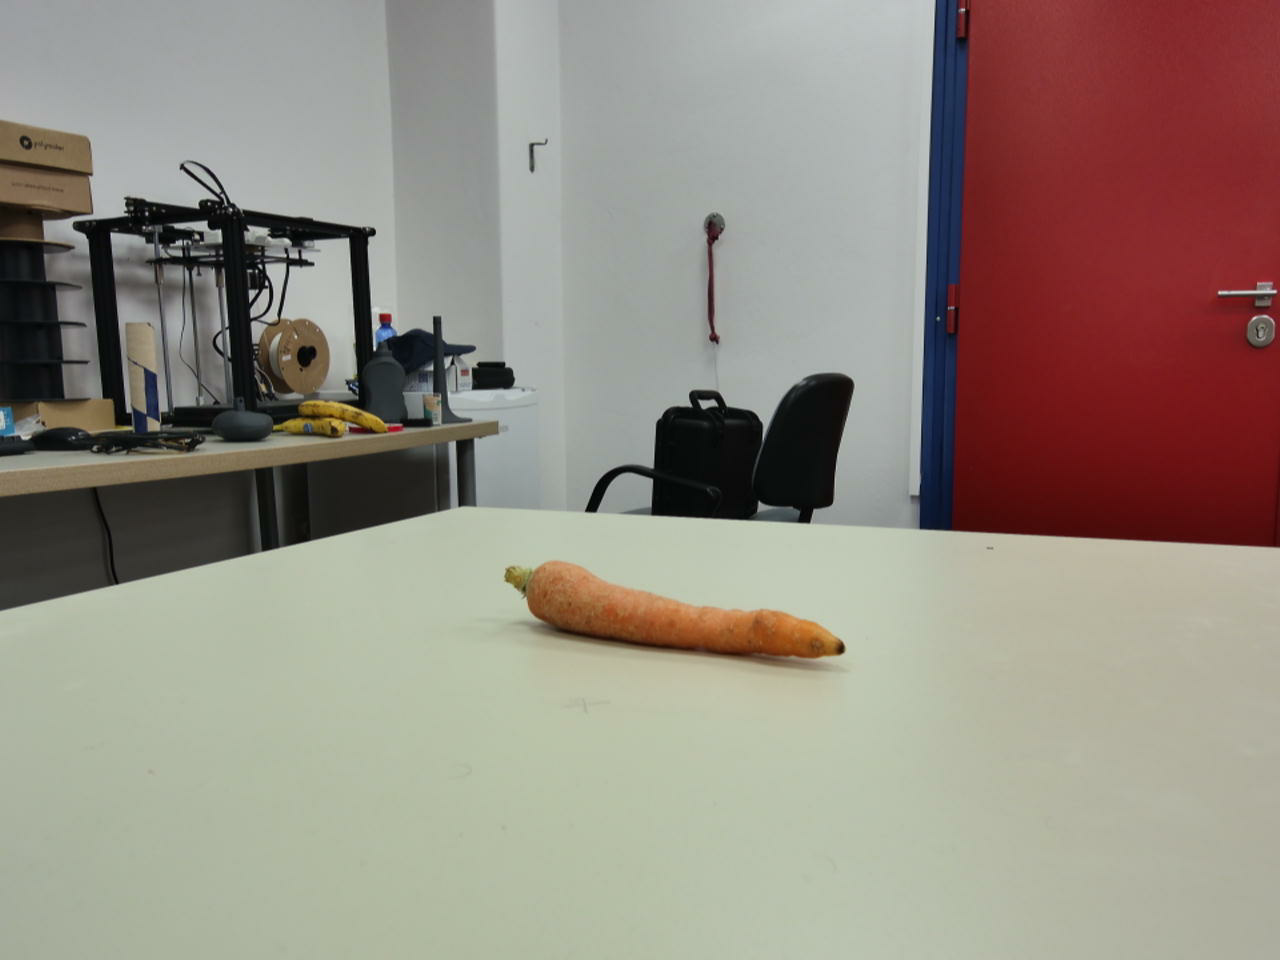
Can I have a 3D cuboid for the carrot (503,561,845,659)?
[{"bbox_3d":[0.008,0.057,0.445,0.173,0.032,0.030,3,4,34],"label":"carrot"}]
